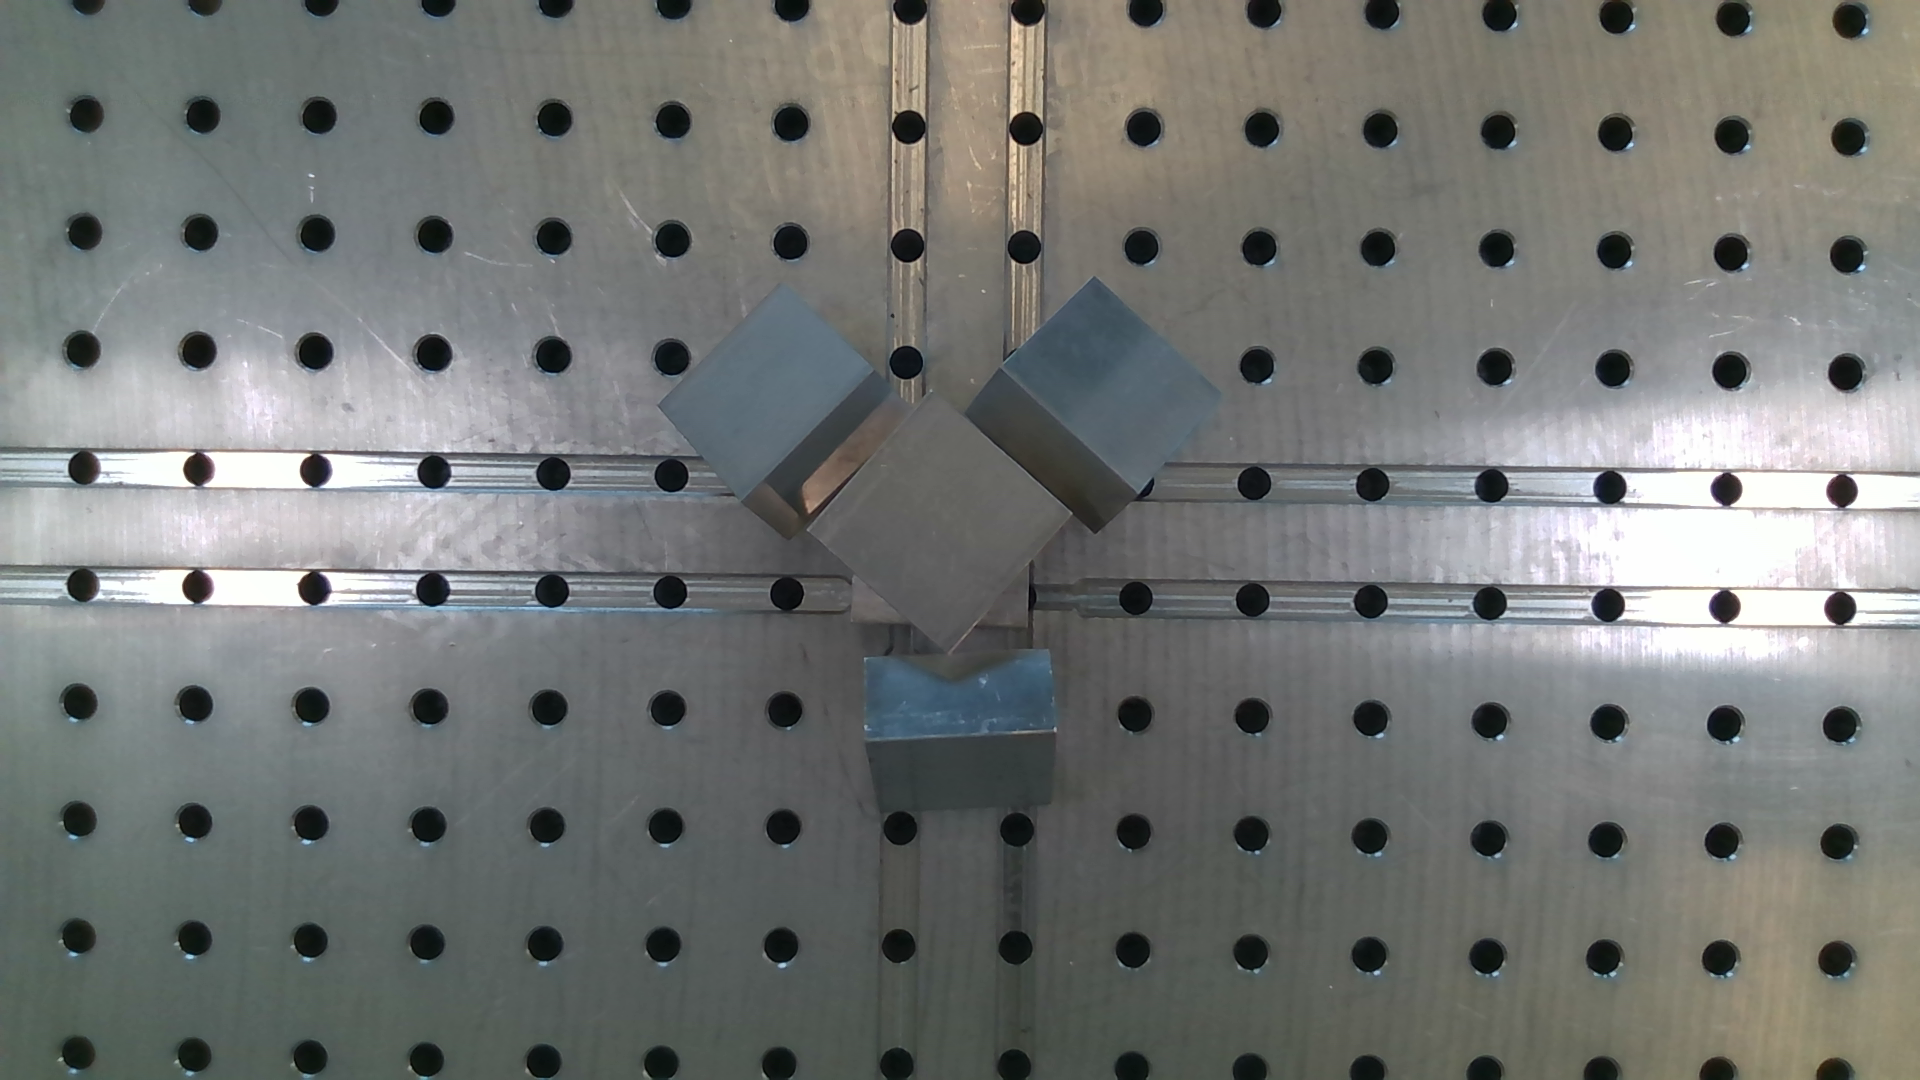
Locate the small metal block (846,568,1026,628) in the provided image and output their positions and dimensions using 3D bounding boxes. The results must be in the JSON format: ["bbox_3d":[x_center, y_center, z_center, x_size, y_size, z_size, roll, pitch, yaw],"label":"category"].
[{"bbox_3d":[-0.006,-0.001,0.398,0.050,0.025,0.050,1,90,3],"label":"small metal block"}]

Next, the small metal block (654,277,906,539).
[{"bbox_3d":[-0.049,-0.037,0.385,0.050,0.025,0.050,-45,53,0],"label":"small metal block"}]

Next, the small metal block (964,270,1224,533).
[{"bbox_3d":[0.038,-0.039,0.385,0.050,0.025,0.050,43,54,0],"label":"small metal block"}]

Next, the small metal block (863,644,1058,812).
[{"bbox_3d":[0.000,0.053,0.382,0.050,0.050,0.025,-3,57,0],"label":"small metal block"}]

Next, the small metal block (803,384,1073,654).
[{"bbox_3d":[-0.006,-0.005,0.372,0.050,0.025,0.050,41,90,-1],"label":"small metal block"}]
